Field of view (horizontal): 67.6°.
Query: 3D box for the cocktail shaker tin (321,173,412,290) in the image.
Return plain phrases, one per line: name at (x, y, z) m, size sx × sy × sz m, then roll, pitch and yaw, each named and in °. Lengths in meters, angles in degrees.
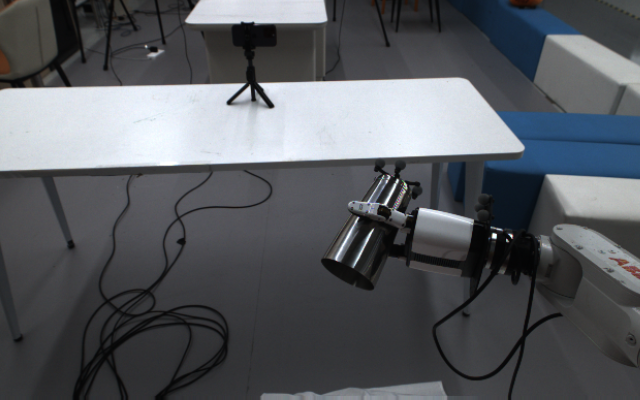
cocktail shaker tin at (0.083, 0.042, 0.764) m, size 0.093 × 0.093 × 0.170 m, roll 20°, pitch 67°, yaw 24°
